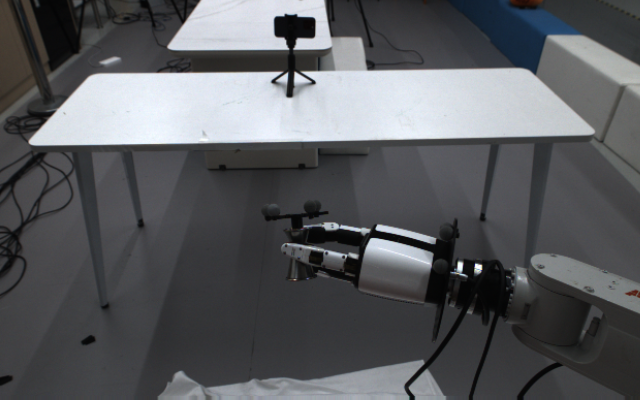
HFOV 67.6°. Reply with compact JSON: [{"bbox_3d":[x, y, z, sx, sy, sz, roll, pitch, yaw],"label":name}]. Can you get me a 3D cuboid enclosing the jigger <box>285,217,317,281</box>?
[{"bbox_3d":[-0.028,0.071,0.654,0.043,0.071,0.043,-4,1,0],"label":"jigger"}]
